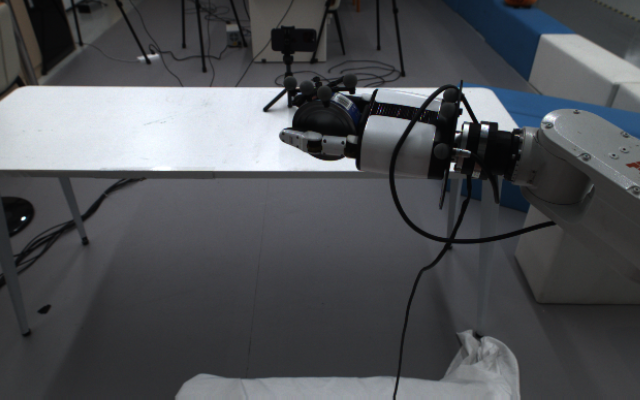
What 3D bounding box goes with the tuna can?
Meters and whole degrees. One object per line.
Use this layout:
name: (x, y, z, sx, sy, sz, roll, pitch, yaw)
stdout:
tuna can: (0.011, -0.096, 0.620, 0.085, 0.085, 0.034, 14, 40, 16)
